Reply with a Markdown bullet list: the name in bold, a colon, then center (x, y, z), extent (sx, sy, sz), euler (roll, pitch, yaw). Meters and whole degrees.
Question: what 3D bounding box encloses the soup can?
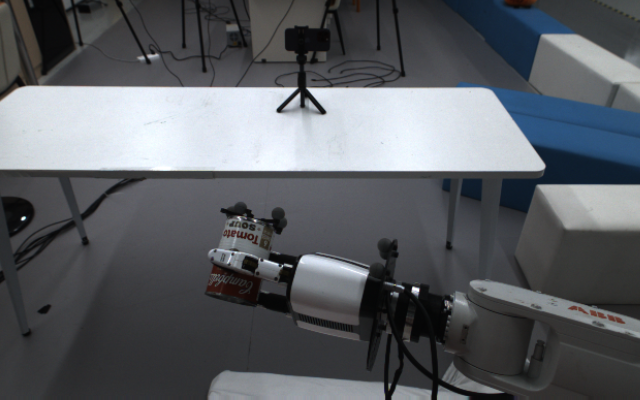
- **soup can**: center (-0.099, 0.079, 0.619), extent (0.067, 0.067, 0.101), euler (9, 72, 10)
